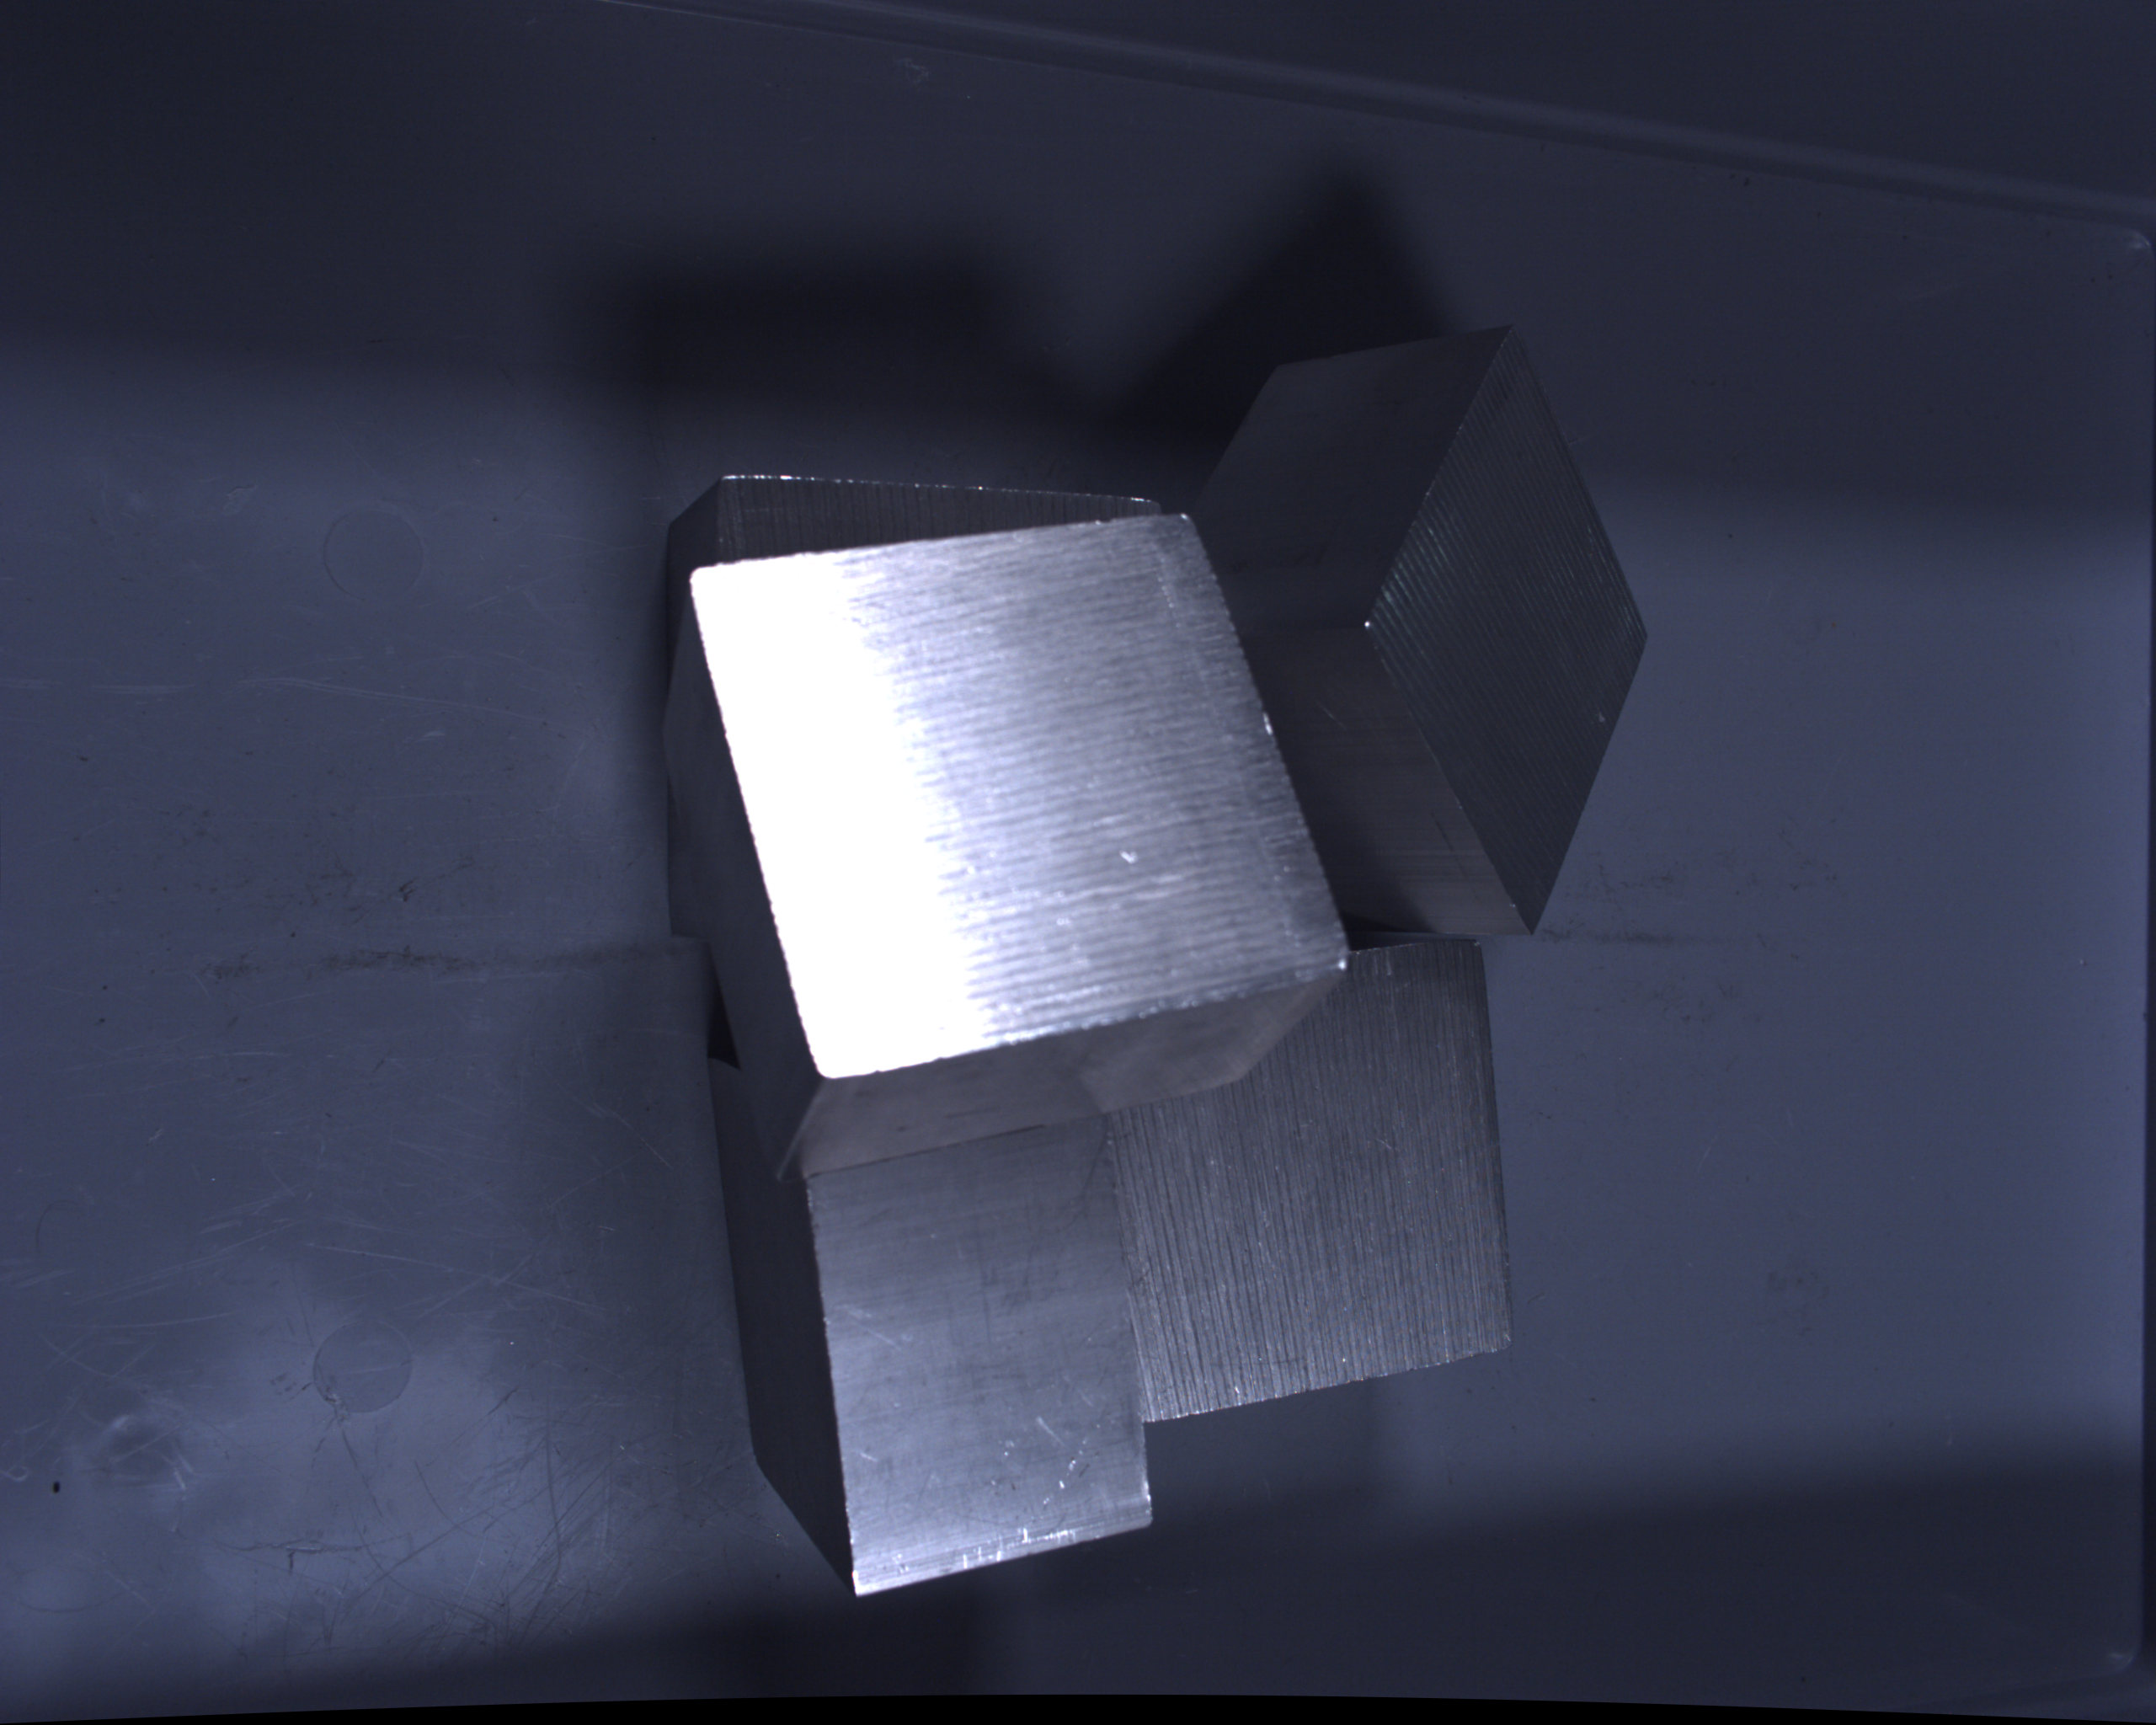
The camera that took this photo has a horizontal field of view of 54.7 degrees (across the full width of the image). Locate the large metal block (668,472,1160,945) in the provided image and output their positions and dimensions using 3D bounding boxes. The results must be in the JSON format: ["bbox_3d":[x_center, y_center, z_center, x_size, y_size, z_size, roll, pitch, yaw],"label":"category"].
[{"bbox_3d":[-0.031,-0.026,0.385,0.081,0.050,0.079,-1,91,-20],"label":"large metal block"}]

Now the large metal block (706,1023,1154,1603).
[{"bbox_3d":[-0.029,0.073,0.370,0.050,0.080,0.079,-7,93,-20],"label":"large metal block"}]

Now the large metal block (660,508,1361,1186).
[{"bbox_3d":[-0.014,-0.003,0.322,0.081,0.050,0.080,-10,68,-20],"label":"large metal block"}]

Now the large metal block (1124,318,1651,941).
[{"bbox_3d":[0.061,-0.042,0.392,0.080,0.050,0.080,55,50,-36],"label":"large metal block"}]

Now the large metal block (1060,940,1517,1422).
[{"bbox_3d":[0.034,0.057,0.407,0.081,0.050,0.079,-6,92,-20],"label":"large metal block"}]
